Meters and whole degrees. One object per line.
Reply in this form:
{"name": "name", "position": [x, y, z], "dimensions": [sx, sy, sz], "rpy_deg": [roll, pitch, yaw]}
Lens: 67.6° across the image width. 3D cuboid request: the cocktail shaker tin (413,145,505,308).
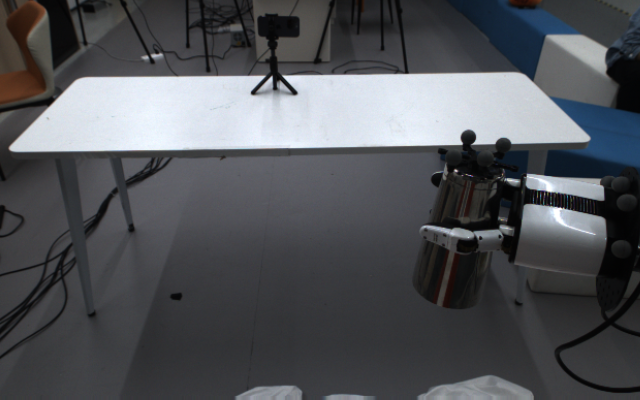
{"name": "cocktail shaker tin", "position": [0.173, 0.035, 0.587], "dimensions": [0.093, 0.170, 0.093], "rpy_deg": [3, 30, -2]}
